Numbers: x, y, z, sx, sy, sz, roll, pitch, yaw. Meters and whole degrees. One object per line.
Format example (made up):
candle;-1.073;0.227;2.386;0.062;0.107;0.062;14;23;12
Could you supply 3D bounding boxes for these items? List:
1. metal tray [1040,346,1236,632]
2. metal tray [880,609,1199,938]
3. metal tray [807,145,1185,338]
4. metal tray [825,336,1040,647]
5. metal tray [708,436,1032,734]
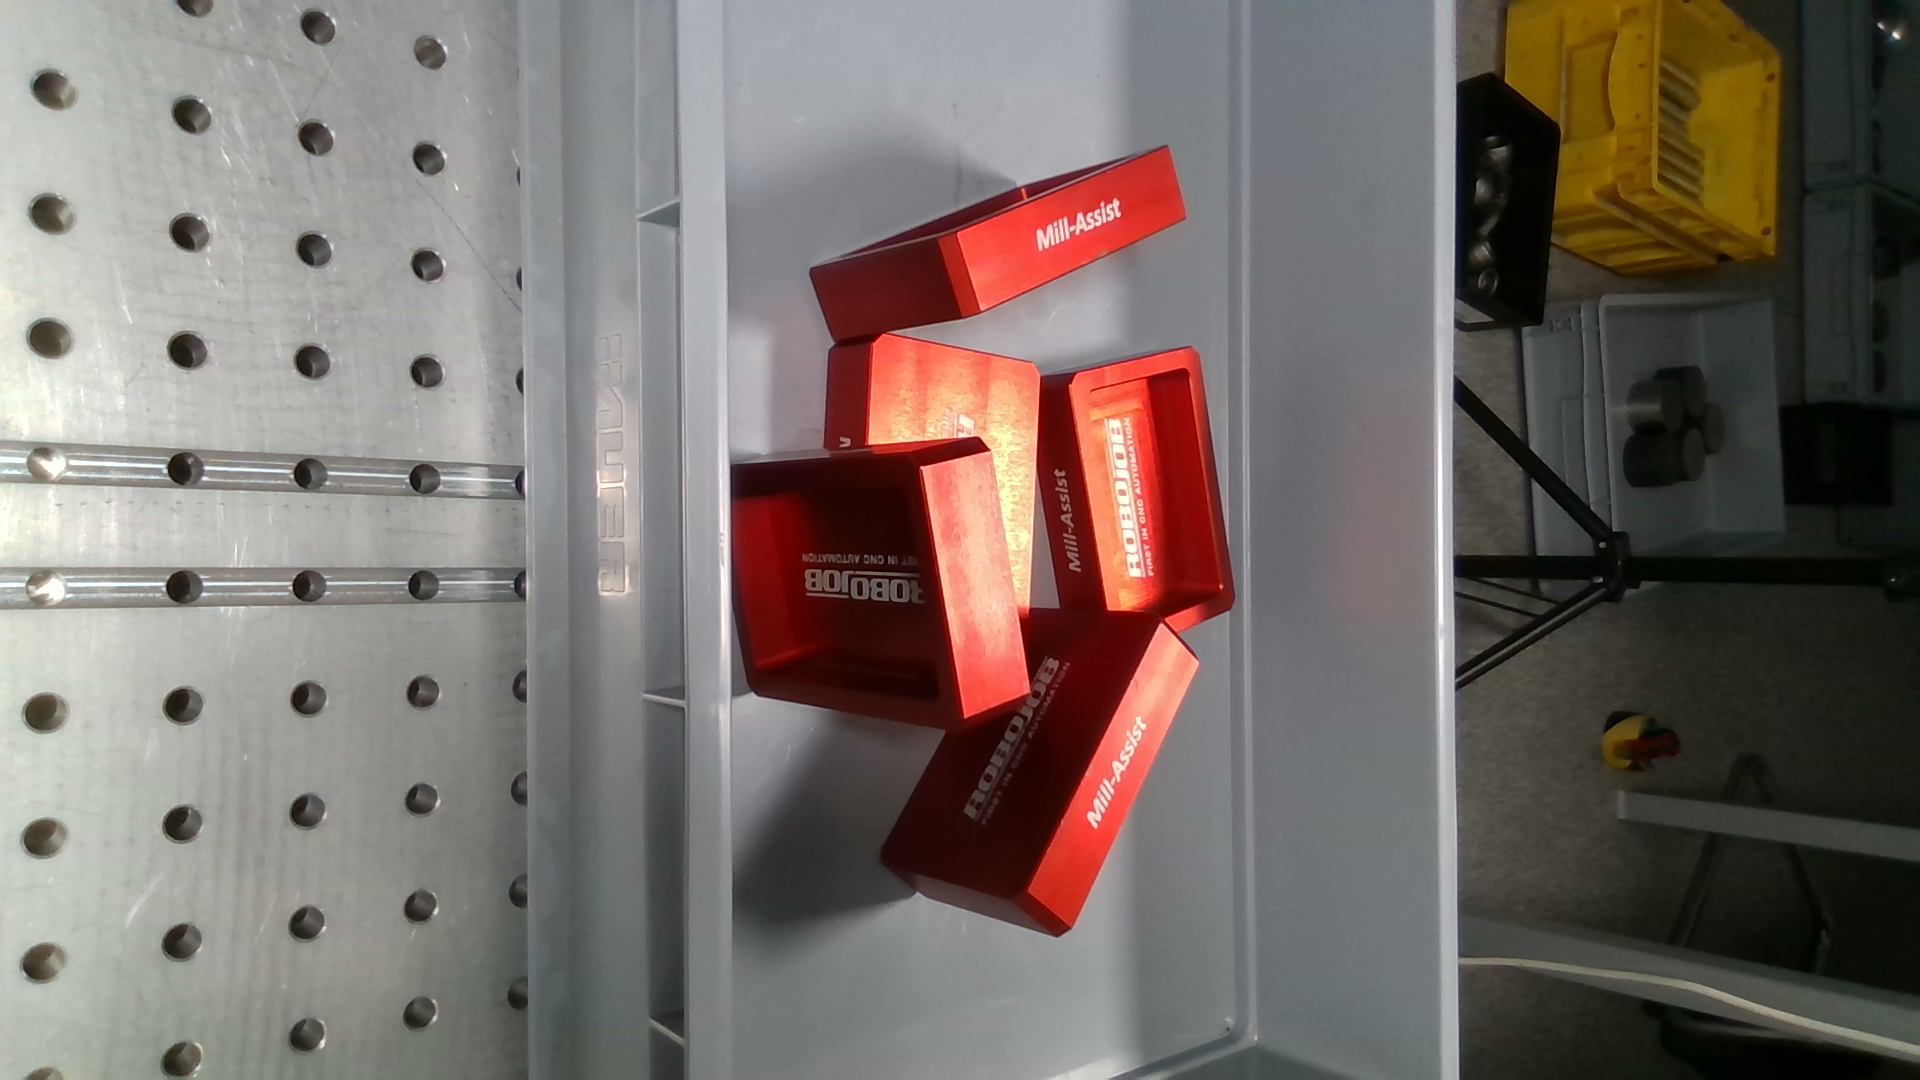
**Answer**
metal tray;0.082;-0.019;0.647;0.090;0.030;0.130;-17;101;-39
metal tray;0.032;0.090;0.565;0.030;0.090;0.130;45;63;-30
metal tray;0.016;-0.120;0.551;0.130;0.090;0.030;-31;110;-36
metal tray;-0.012;-0.013;0.567;0.090;0.030;0.130;4;87;-40
metal tray;-0.036;0.014;0.481;0.030;0.130;0.090;-17;101;-39
